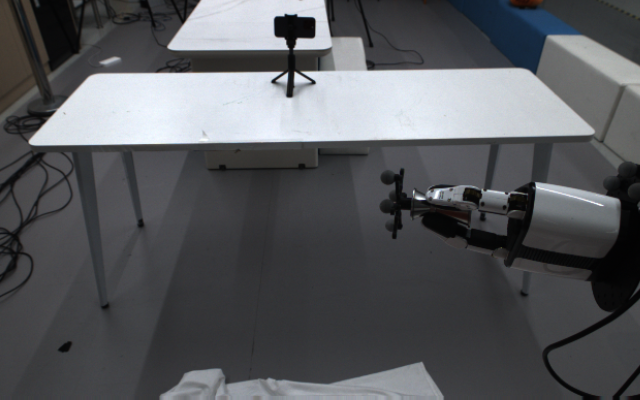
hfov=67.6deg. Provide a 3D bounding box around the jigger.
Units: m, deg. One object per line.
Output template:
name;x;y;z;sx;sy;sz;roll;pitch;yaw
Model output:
jigger;0.151;0.004;0.575;0.071;0.043;0.043;4;34;17
